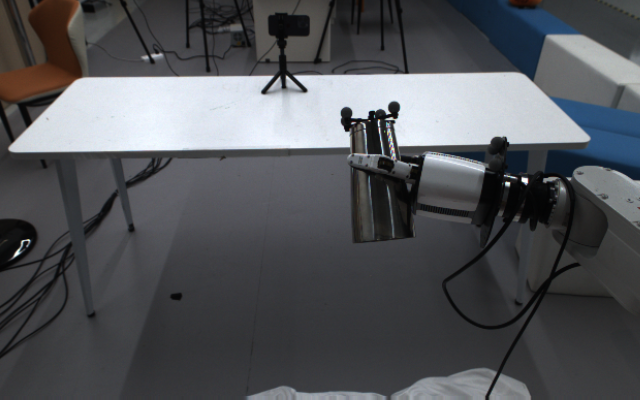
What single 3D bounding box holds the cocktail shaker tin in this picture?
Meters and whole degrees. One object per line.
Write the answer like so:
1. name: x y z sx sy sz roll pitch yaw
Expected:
1. cocktail shaker tin: 0.085 -0.026 0.709 0.093 0.170 0.093 -6 -7 -1
